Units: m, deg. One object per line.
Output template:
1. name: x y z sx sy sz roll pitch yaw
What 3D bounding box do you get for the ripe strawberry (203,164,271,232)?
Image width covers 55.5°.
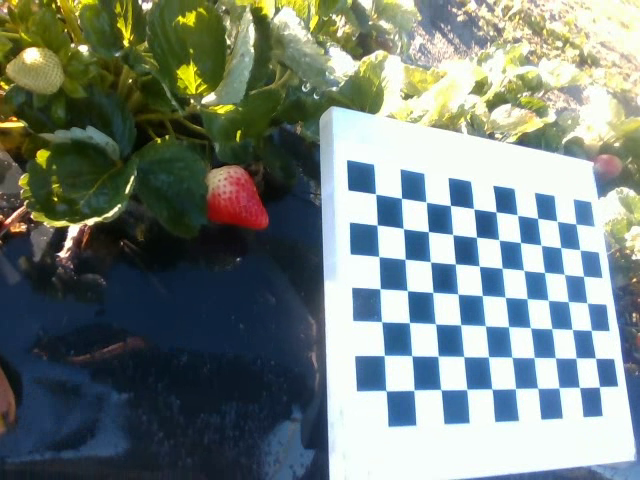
1. ripe strawberry: -0.062 -0.028 0.452 0.040 0.065 0.040 -51 12 -32
